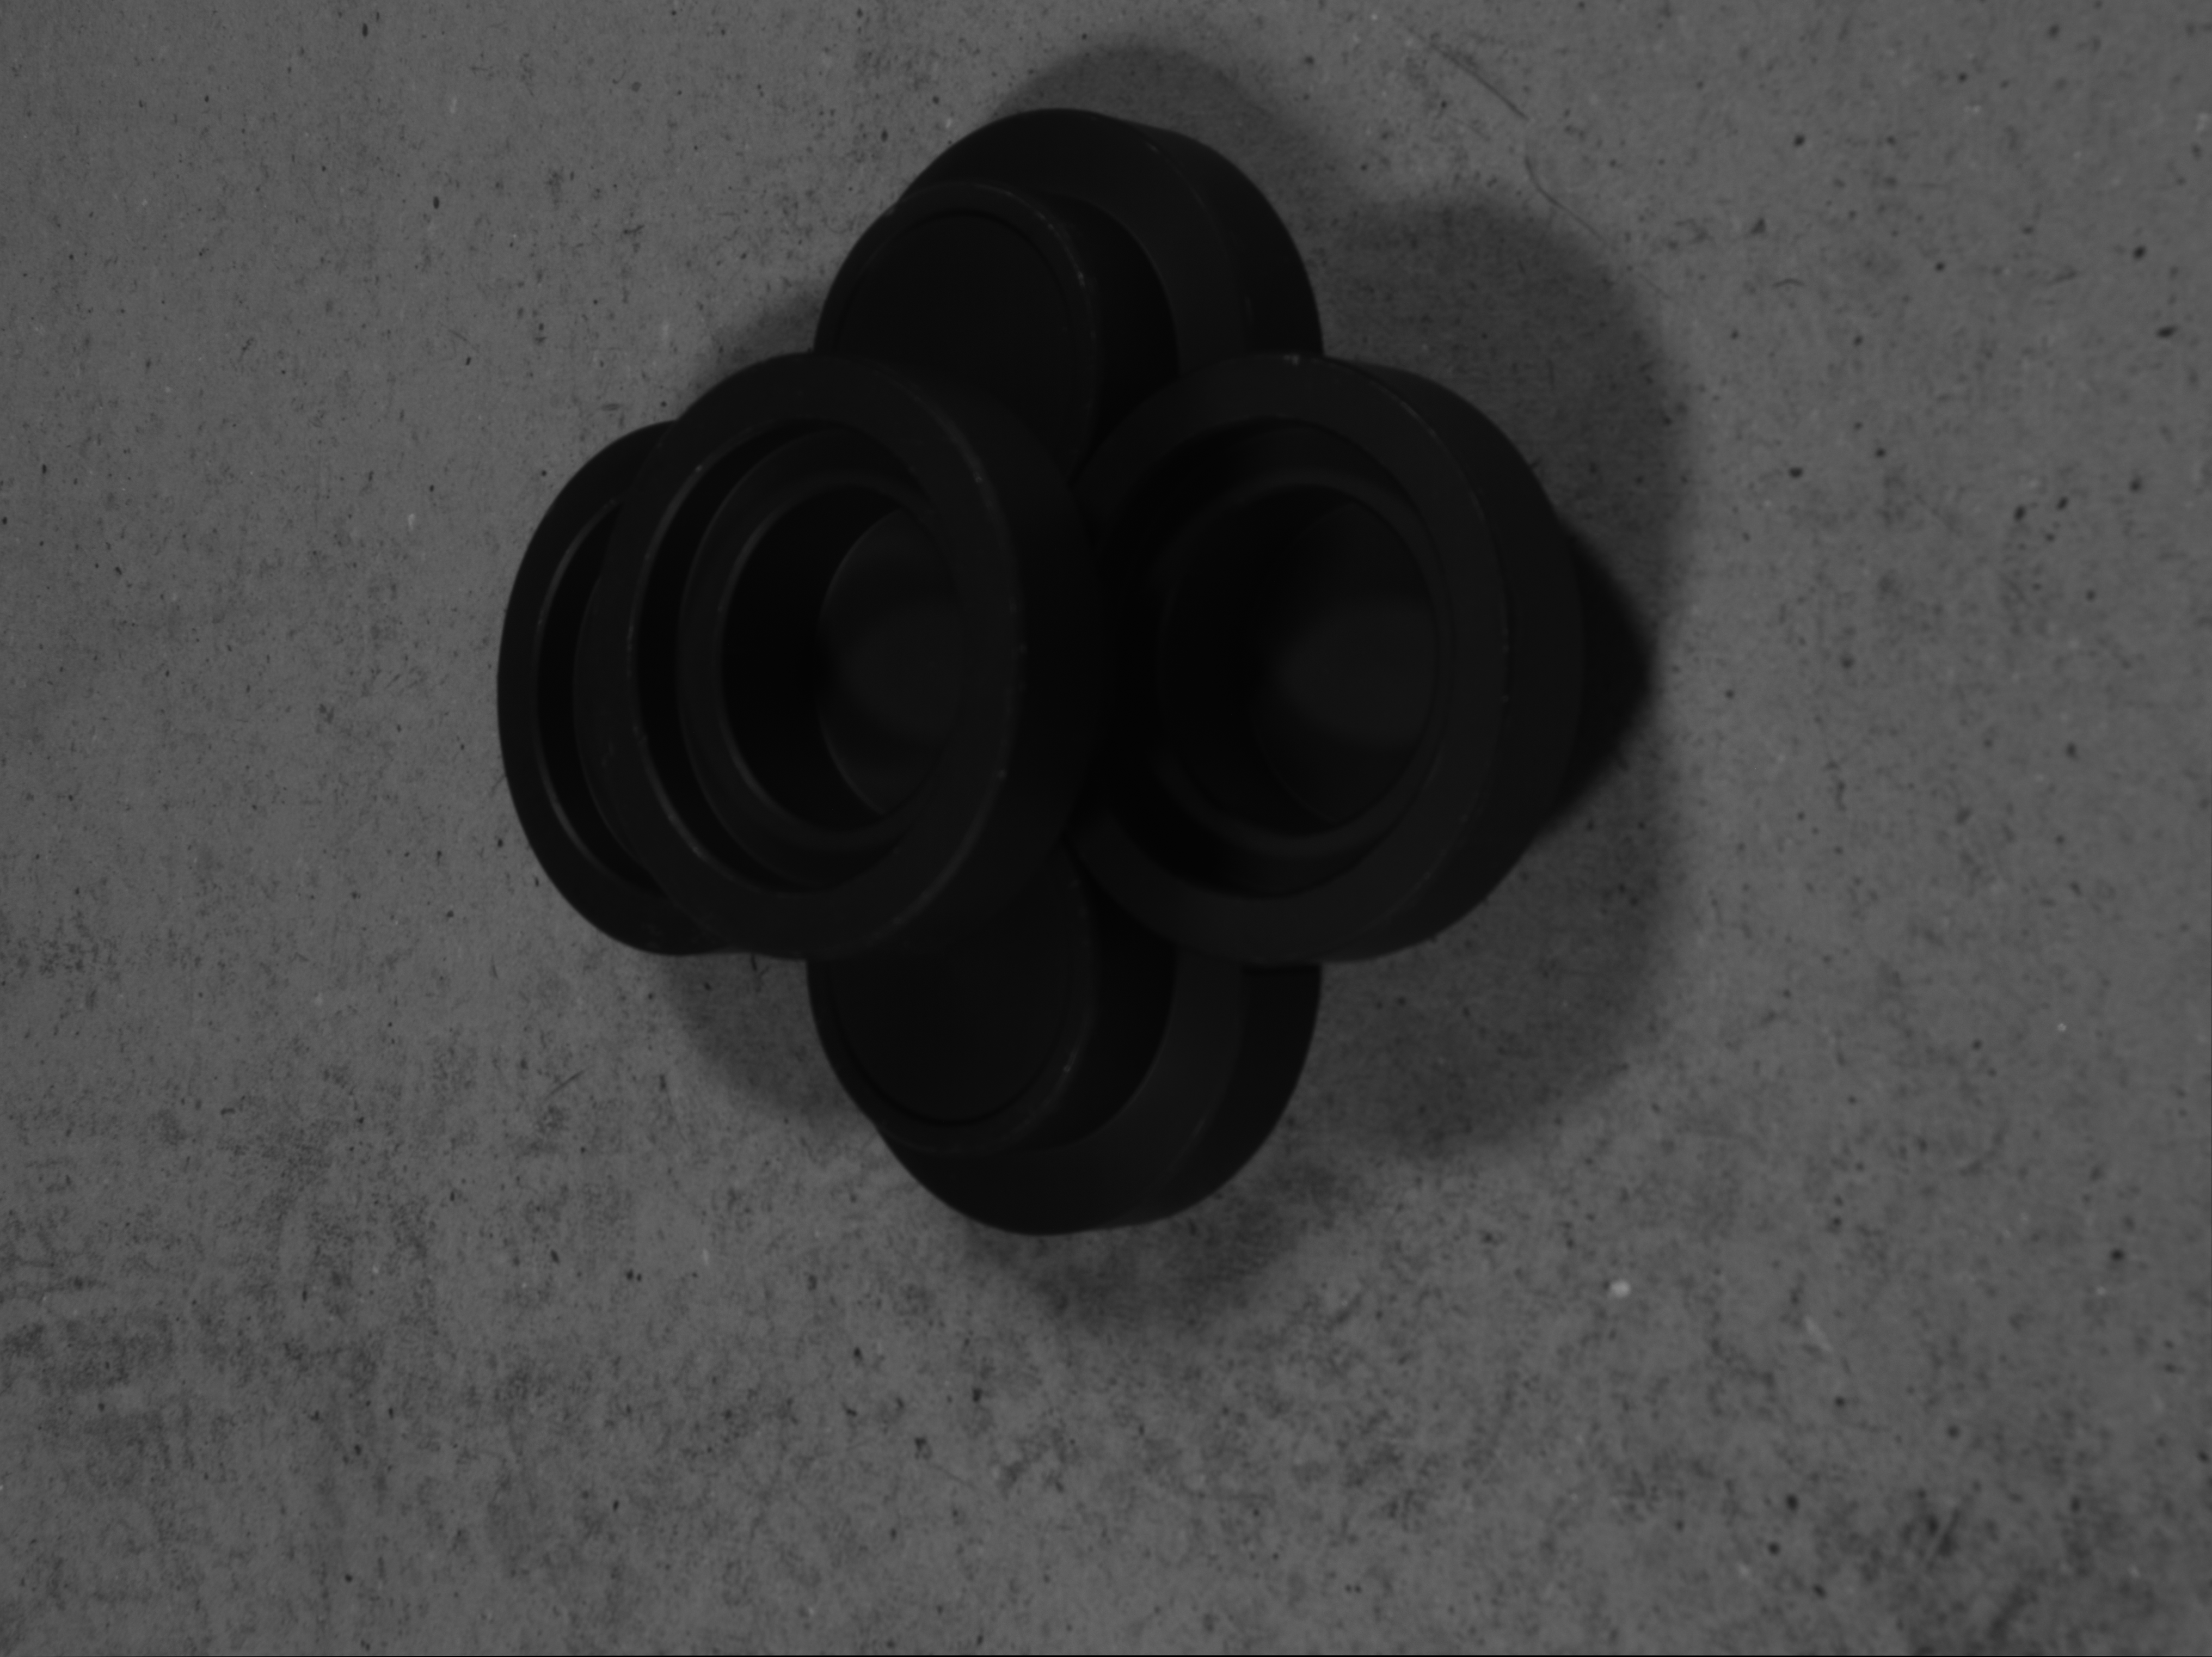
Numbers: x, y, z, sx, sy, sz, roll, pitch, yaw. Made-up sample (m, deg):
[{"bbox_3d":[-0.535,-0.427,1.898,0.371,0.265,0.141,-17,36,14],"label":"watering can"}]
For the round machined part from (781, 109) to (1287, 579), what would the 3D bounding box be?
[{"bbox_3d":[-0.019,-0.077,0.641,0.098,0.042,0.098,0,90,39],"label":"round machined part"}]

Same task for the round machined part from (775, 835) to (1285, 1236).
[{"bbox_3d":[-0.020,0.023,0.641,0.098,0.042,0.098,0,90,39],"label":"round machined part"}]

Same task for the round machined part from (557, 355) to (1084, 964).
[{"bbox_3d":[-0.043,-0.027,0.606,0.098,0.042,0.098,0,90,39],"label":"round machined part"}]

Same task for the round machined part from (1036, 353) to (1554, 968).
[{"bbox_3d":[0.032,-0.027,0.599,0.098,0.042,0.098,0,90,39],"label":"round machined part"}]

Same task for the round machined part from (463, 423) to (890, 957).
[{"bbox_3d":[-0.072,-0.026,0.685,0.098,0.042,0.098,0,90,39],"label":"round machined part"}]
